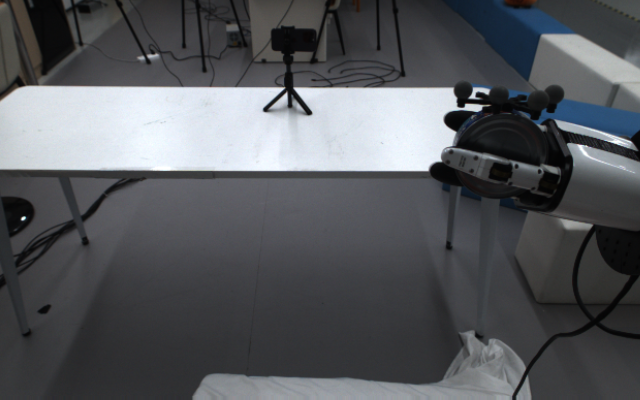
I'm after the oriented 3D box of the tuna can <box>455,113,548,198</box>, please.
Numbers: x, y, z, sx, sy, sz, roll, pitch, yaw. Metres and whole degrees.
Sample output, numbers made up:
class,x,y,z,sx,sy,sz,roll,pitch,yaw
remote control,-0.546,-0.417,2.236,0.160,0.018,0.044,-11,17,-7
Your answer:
class,x,y,z,sx,sy,sz,roll,pitch,yaw
tuna can,0.176,-0.049,0.477,0.085,0.085,0.034,9,24,10
